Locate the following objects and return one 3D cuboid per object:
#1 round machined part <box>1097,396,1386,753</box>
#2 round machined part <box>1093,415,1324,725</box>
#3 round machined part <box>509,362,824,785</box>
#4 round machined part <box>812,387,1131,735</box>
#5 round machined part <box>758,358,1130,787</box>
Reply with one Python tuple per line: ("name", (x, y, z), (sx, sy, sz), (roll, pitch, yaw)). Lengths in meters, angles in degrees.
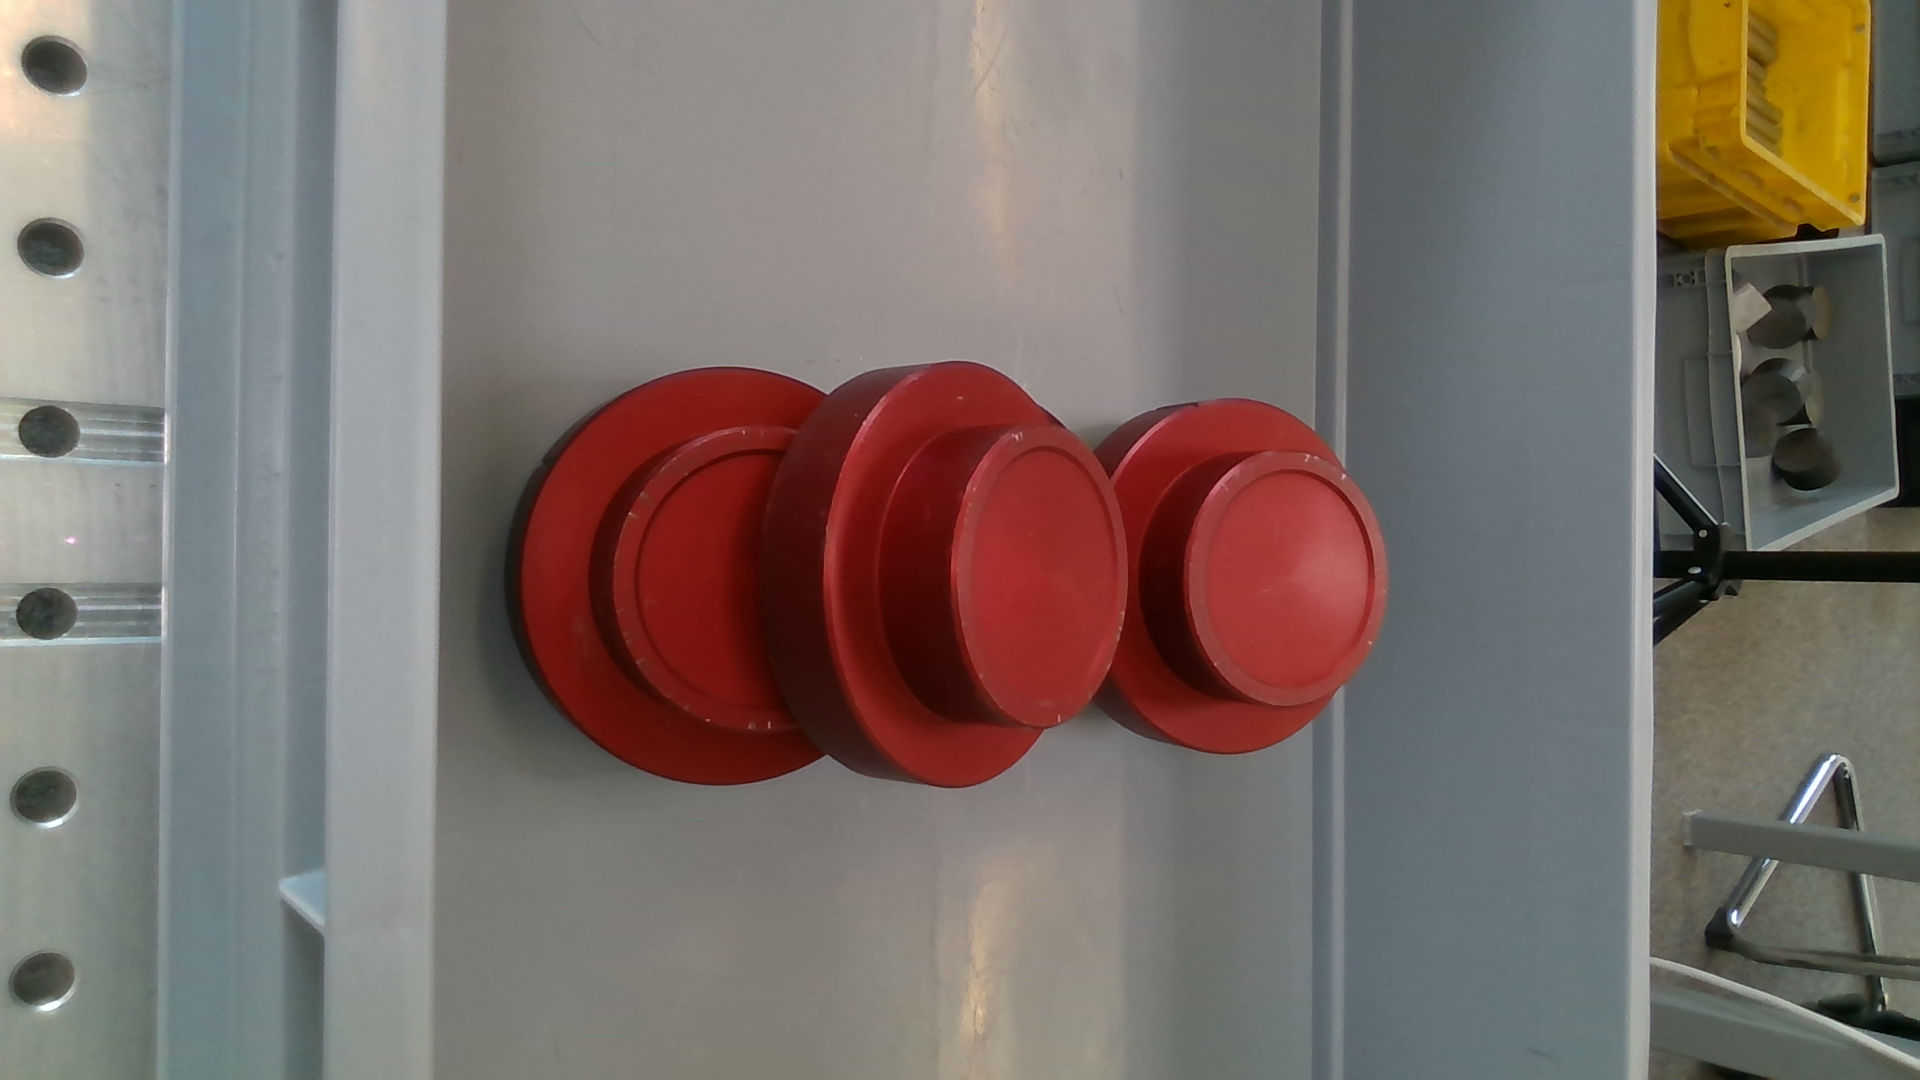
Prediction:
("round machined part", (0.077, 0.009, 0.376), (0.098, 0.042, 0.098), (0, 90, -28))
("round machined part", (0.083, 0.009, 0.435), (0.098, 0.042, 0.098), (0, 91, -56))
("round machined part", (-0.051, 0.008, 0.318), (0.098, 0.042, 0.098), (0, 90, -25))
("round machined part", (0.010, 0.006, 0.388), (0.098, 0.042, 0.098), (0, 90, -41))
("round machined part", (0.004, 0.007, 0.315), (0.098, 0.042, 0.098), (0, 90, -51))
